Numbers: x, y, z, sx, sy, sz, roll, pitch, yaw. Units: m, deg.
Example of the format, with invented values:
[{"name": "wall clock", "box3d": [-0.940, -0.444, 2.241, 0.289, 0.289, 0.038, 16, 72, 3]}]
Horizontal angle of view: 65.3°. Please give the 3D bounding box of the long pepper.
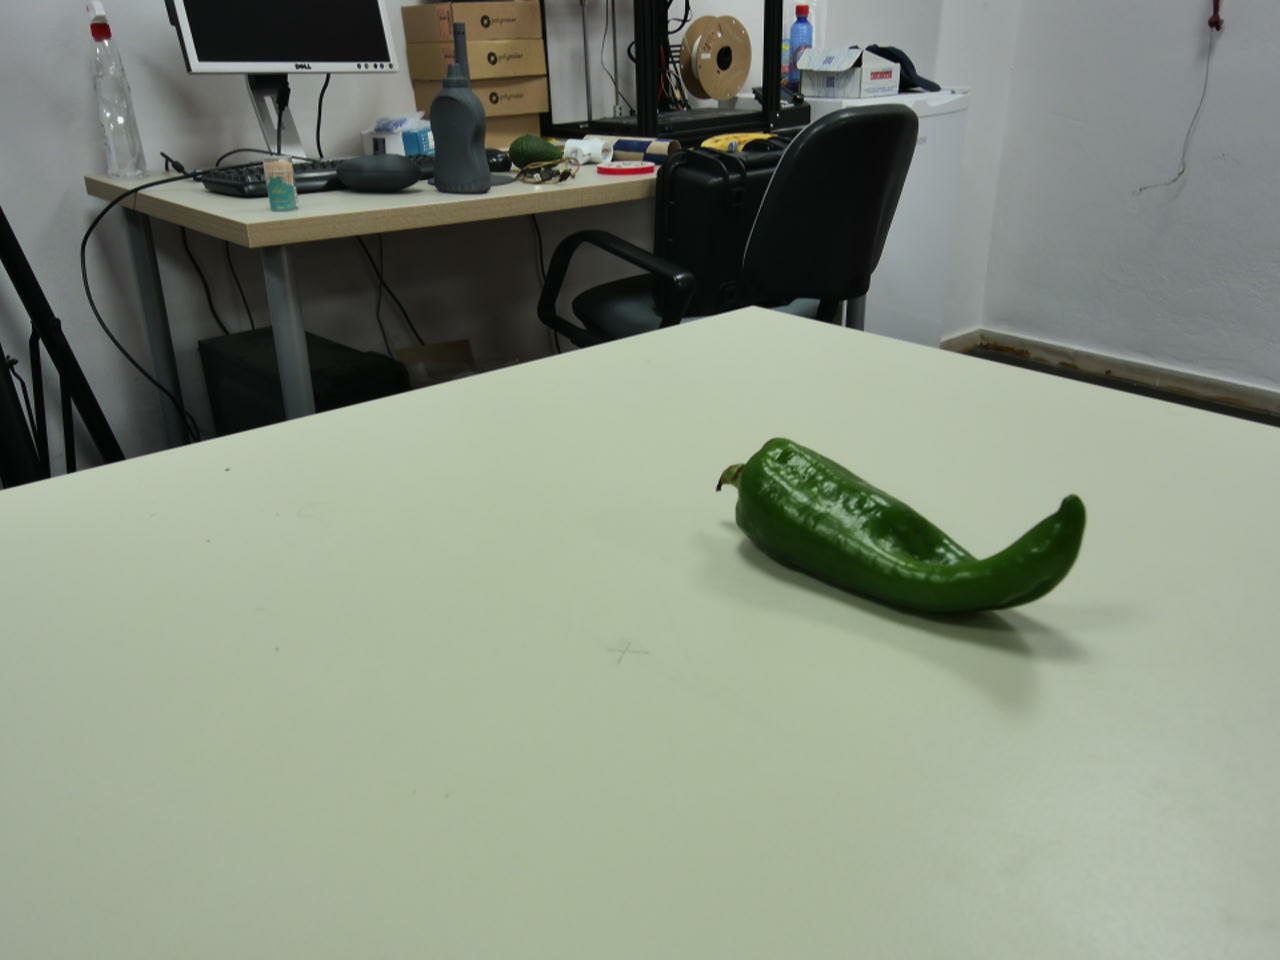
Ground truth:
[{"name": "long pepper", "box3d": [0.102, 0.015, 0.440, 0.058, 0.065, 0.175, -17, 28, -37]}]
